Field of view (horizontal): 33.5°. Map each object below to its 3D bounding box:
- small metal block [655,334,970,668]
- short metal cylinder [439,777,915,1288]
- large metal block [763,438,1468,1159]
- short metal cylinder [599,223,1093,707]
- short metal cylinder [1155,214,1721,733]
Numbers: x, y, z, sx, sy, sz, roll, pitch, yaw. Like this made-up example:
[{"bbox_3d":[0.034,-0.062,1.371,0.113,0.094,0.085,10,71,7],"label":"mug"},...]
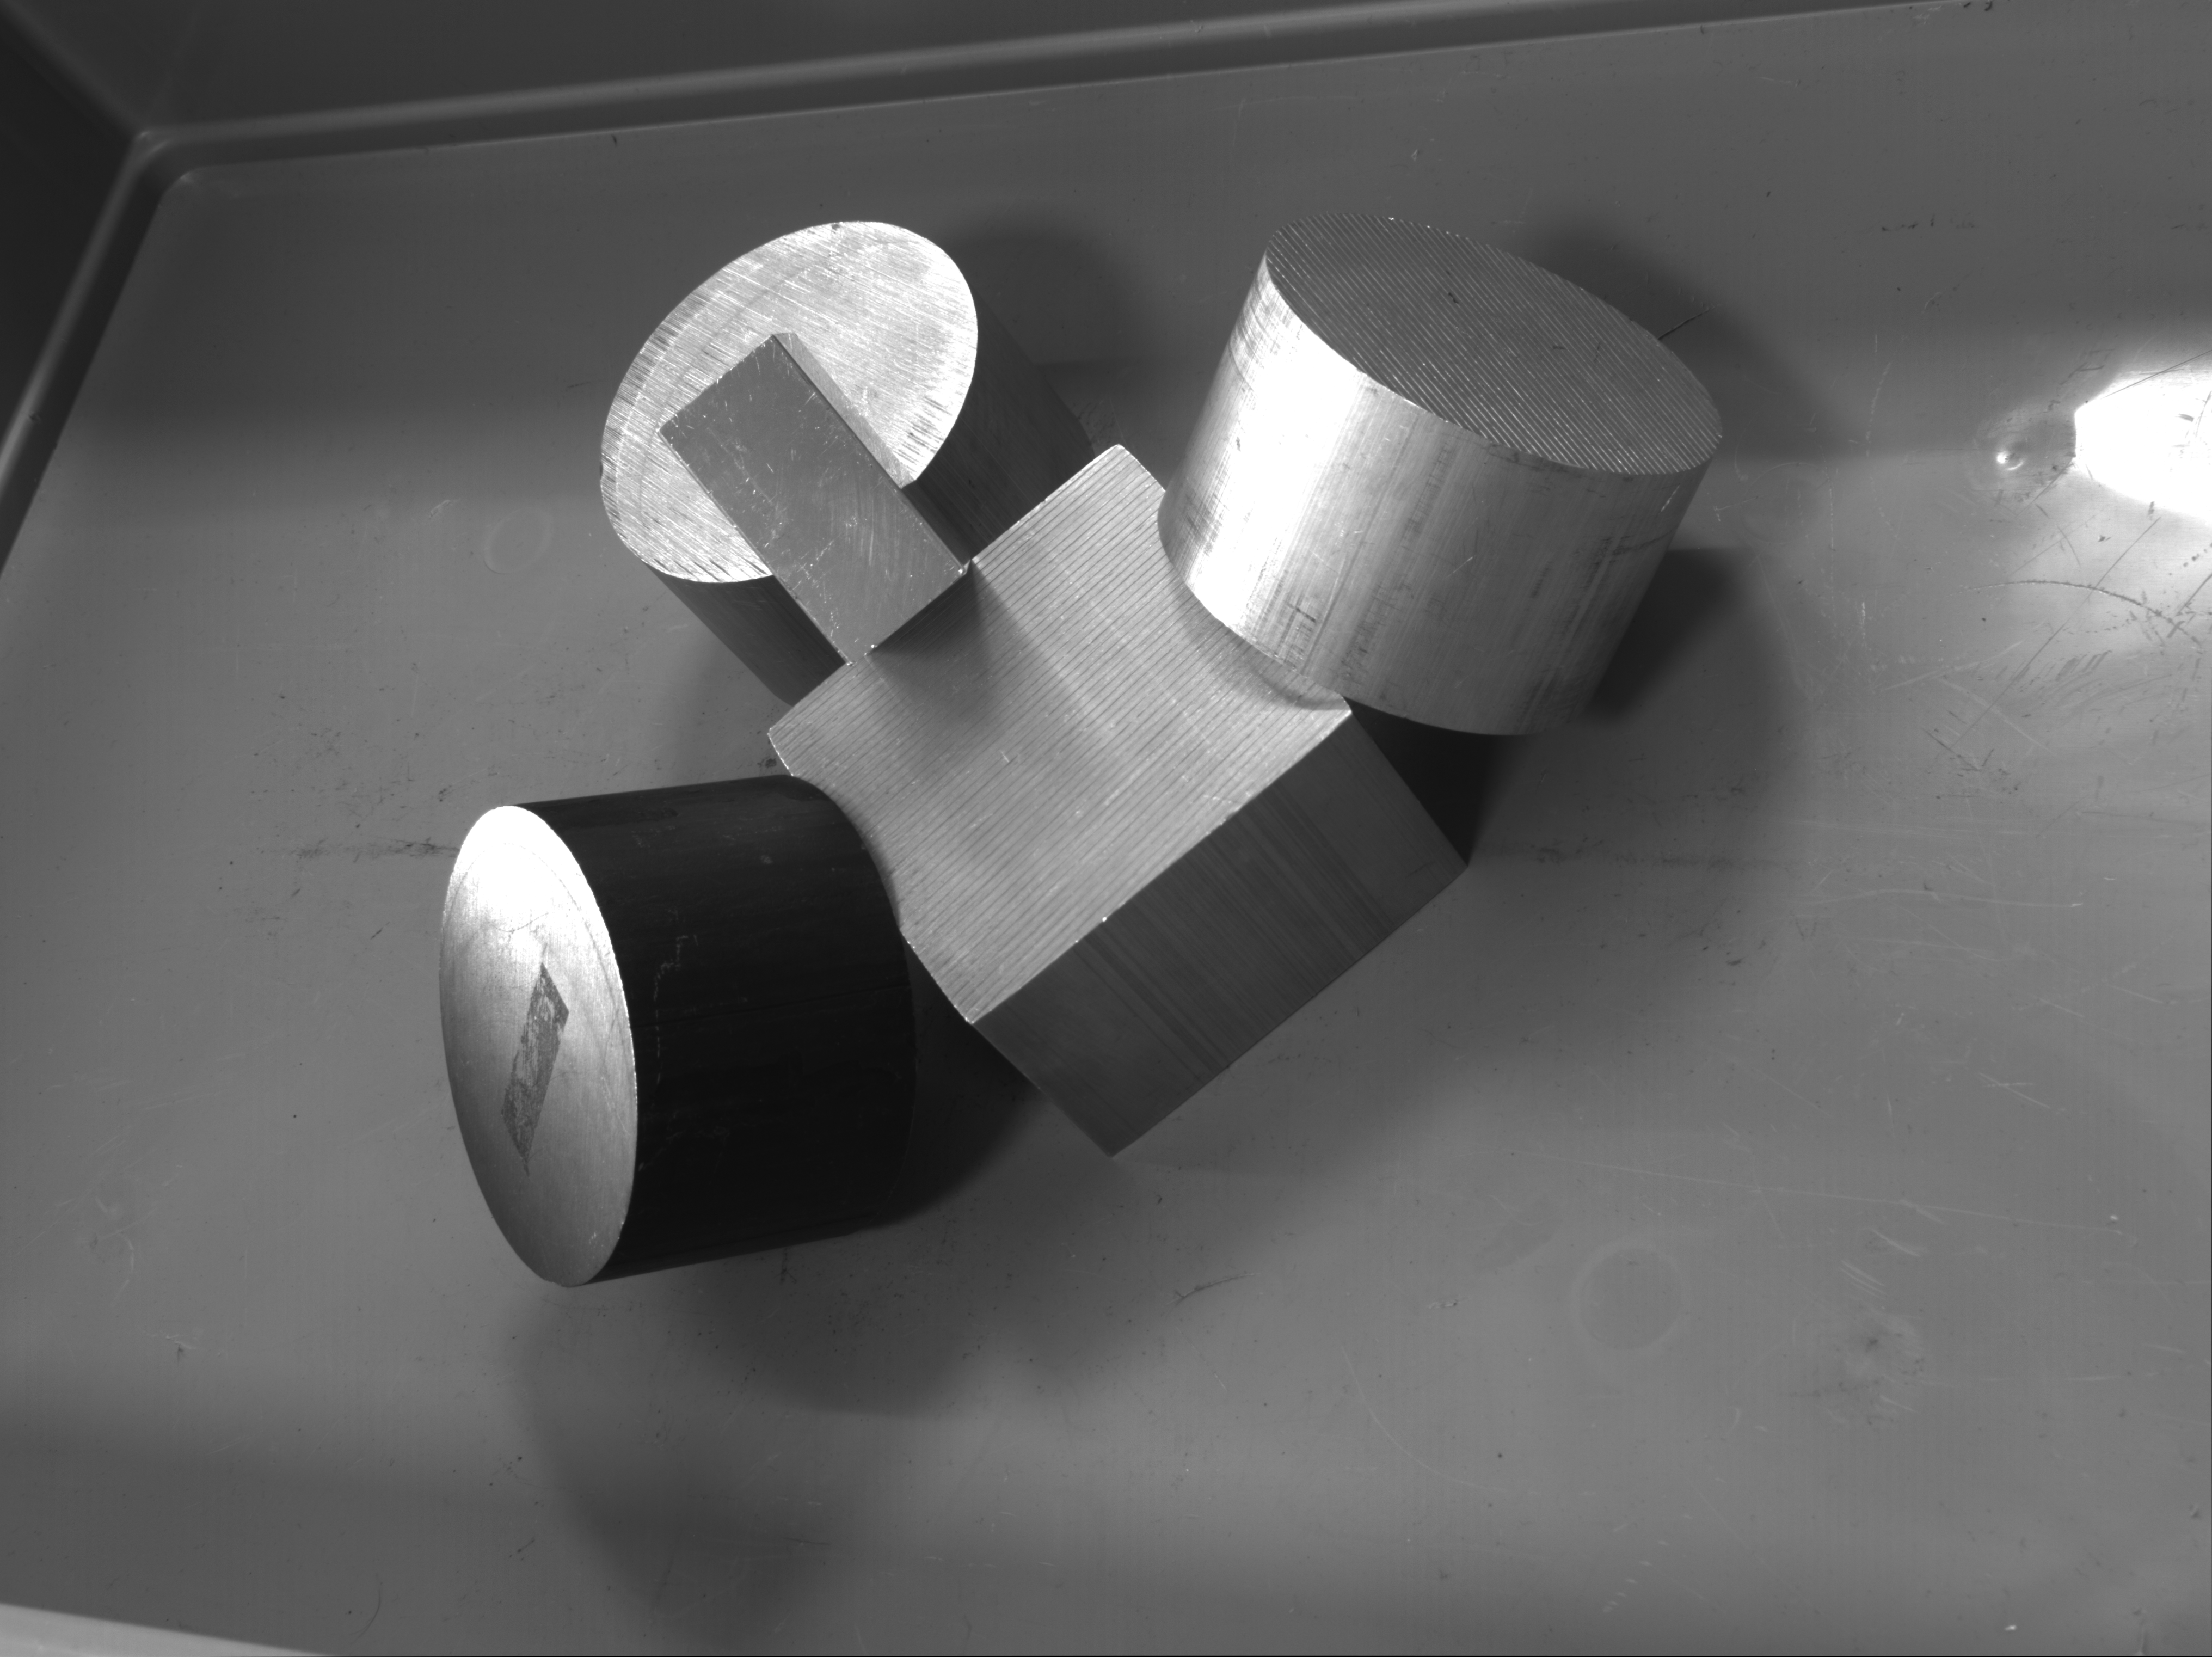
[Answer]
[{"bbox_3d":[-0.048,-0.057,0.625,0.025,0.050,0.050,-39,7,4],"label":"small metal block"},{"bbox_3d":[-0.074,0.033,0.620,0.080,0.050,0.080,19,112,56],"label":"short metal cylinder"},{"bbox_3d":[0.001,-0.006,0.628,0.080,0.050,0.080,-39,51,2],"label":"large metal block"},{"bbox_3d":[-0.048,-0.067,0.696,0.080,0.050,0.080,-14,56,21],"label":"short metal cylinder"},{"bbox_3d":[0.054,-0.059,0.607,0.080,0.080,0.050,51,130,39],"label":"short metal cylinder"}]
